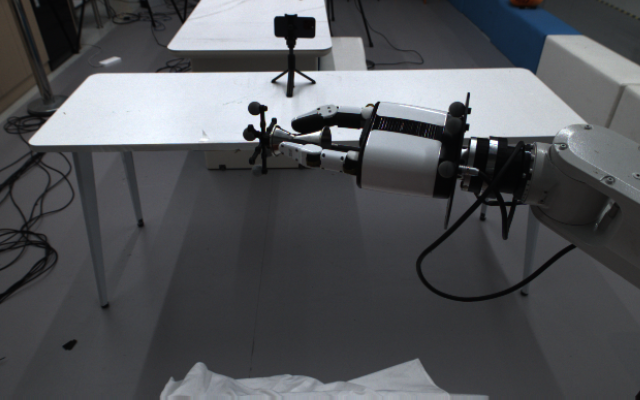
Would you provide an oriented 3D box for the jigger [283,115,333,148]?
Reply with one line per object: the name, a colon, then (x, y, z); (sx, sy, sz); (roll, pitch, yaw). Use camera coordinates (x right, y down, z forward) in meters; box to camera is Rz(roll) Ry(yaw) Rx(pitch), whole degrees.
jigger: (-0.018, -0.075, 0.609); (0.071, 0.043, 0.043); (5, 34, 17)
